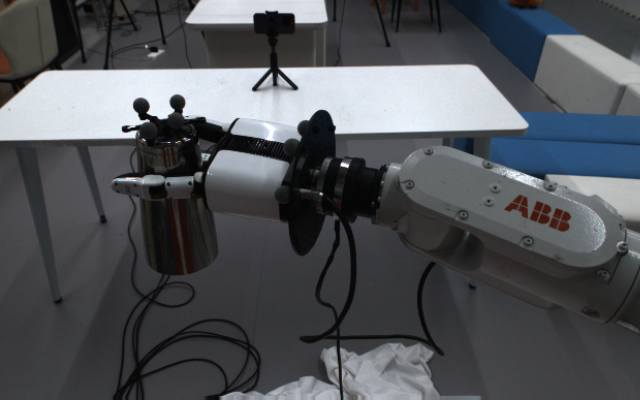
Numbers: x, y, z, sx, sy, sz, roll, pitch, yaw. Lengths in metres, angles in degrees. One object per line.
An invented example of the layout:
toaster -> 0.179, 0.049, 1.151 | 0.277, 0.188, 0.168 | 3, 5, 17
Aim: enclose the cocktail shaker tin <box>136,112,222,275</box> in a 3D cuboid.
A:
cocktail shaker tin -> -0.171, -0.007, 0.581 | 0.093, 0.170, 0.093 | 3, 33, -2
